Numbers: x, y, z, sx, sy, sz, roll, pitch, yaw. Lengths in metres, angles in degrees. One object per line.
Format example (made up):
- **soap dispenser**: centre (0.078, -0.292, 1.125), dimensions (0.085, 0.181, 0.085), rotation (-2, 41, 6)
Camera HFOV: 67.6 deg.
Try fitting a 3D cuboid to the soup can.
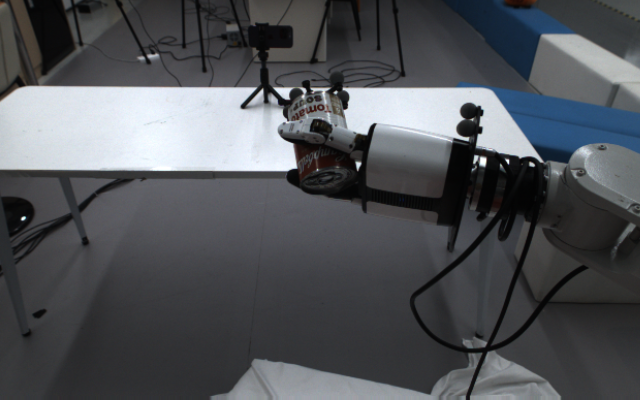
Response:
- **soup can**: centre (0.004, -0.066, 0.562), dimensions (0.067, 0.067, 0.101), rotation (-6, 67, -12)
